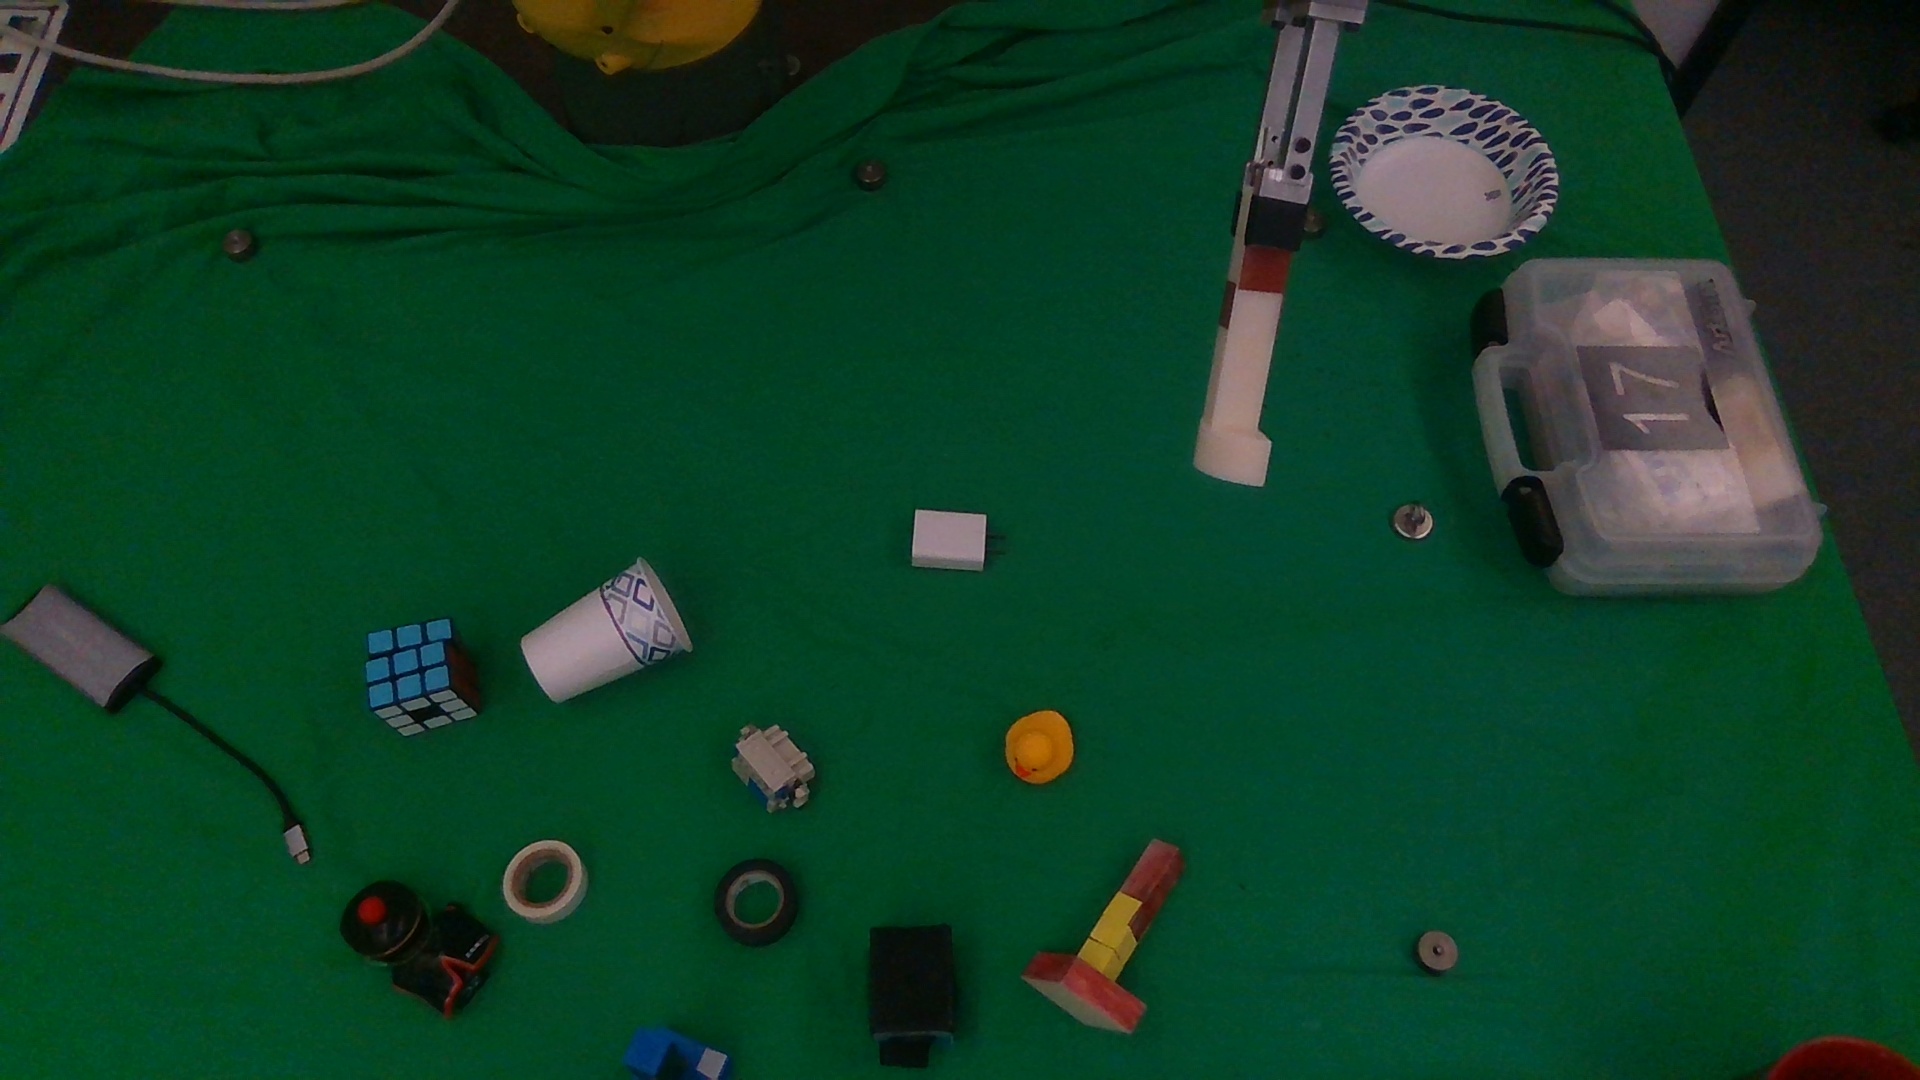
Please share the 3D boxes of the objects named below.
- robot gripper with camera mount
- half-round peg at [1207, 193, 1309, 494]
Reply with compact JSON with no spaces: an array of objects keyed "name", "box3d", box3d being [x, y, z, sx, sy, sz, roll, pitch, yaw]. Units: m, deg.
[{"name":"robot gripper with camera mount","box3d":[0.055,-0.197,0.532,0.193,0.119,0.158,6,107,-4]},{"name":"half-round peg","box3d":[0.125,-0.084,0.581,0.031,0.122,0.054,3,19,-2]}]
